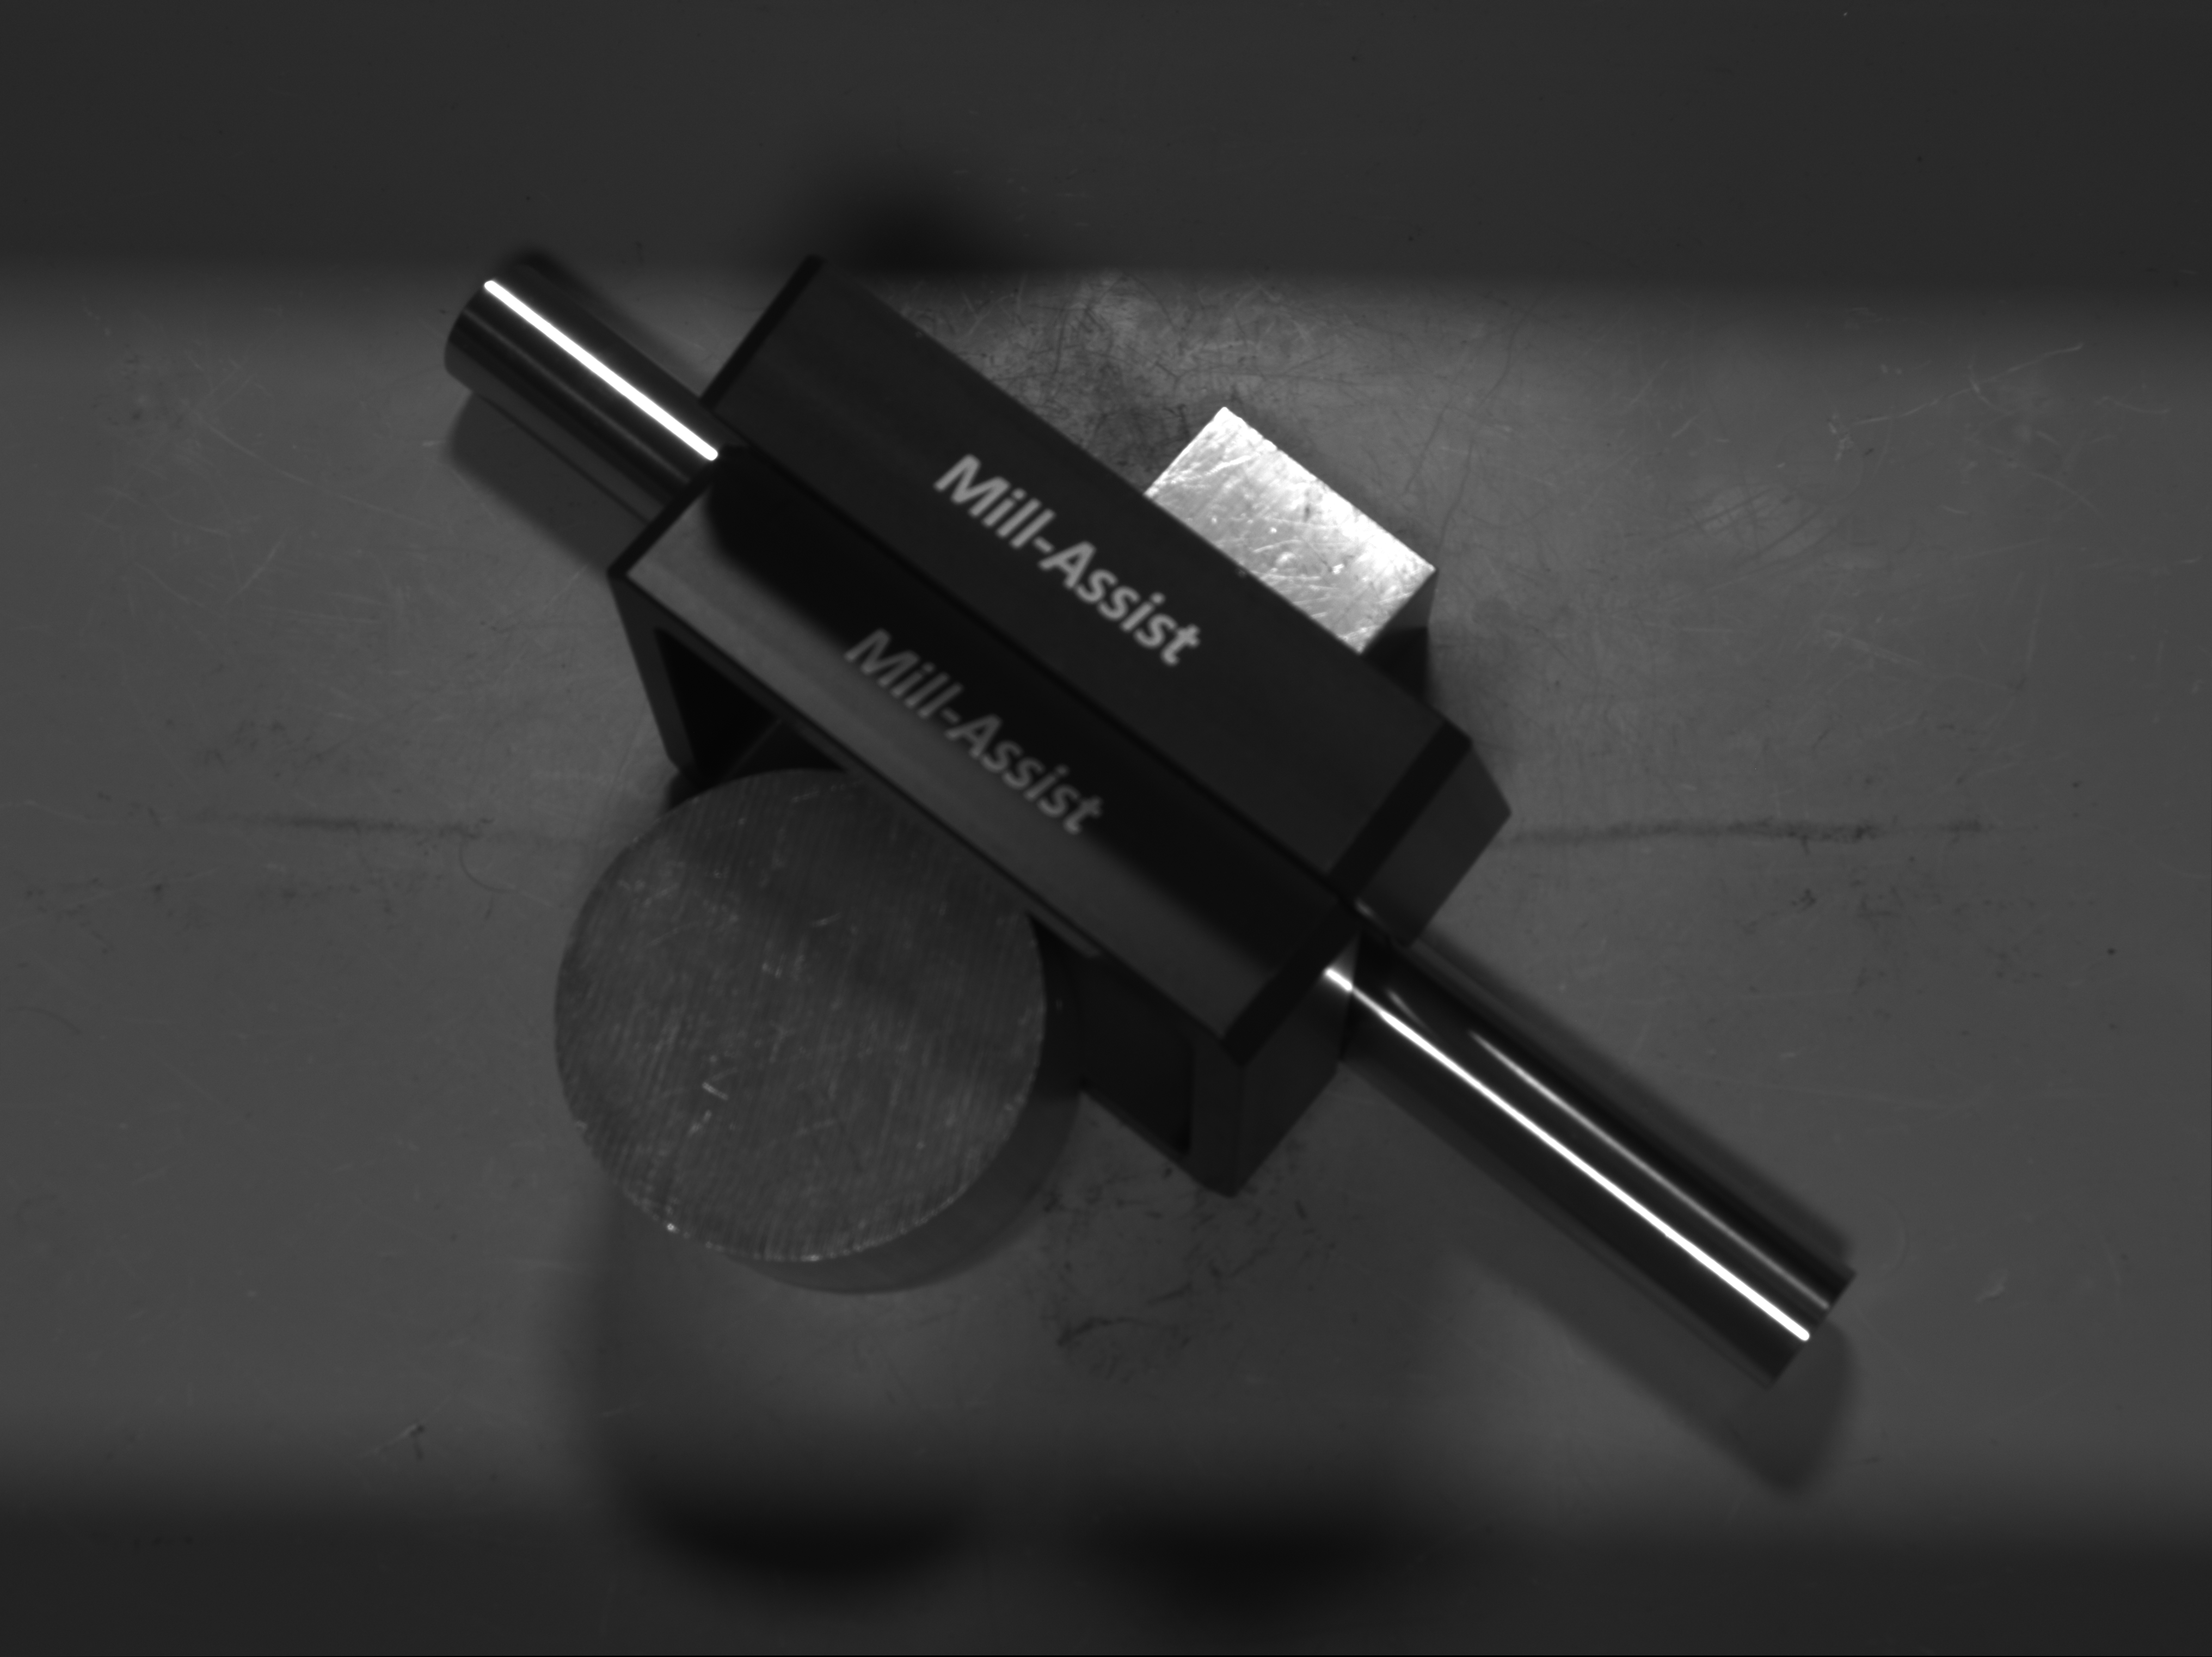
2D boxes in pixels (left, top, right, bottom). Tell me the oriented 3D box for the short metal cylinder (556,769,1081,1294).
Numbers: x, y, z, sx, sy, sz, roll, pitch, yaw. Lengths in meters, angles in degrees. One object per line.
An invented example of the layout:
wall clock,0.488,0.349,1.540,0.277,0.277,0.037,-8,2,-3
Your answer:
short metal cylinder,-0.046,0.035,0.611,0.080,0.050,0.080,-1,77,5

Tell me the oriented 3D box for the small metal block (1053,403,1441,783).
small metal block,0.024,-0.039,0.658,0.050,0.025,0.050,39,74,13

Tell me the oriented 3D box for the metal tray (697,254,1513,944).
metal tray,0.003,-0.035,0.595,0.130,0.090,0.030,38,91,13

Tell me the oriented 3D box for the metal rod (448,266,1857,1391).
metal rod,0.003,-0.005,0.647,0.300,0.025,0.025,38,74,13

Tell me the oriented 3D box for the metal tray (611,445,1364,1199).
metal tray,-0.019,0.001,0.609,0.130,0.090,0.030,38,74,13
